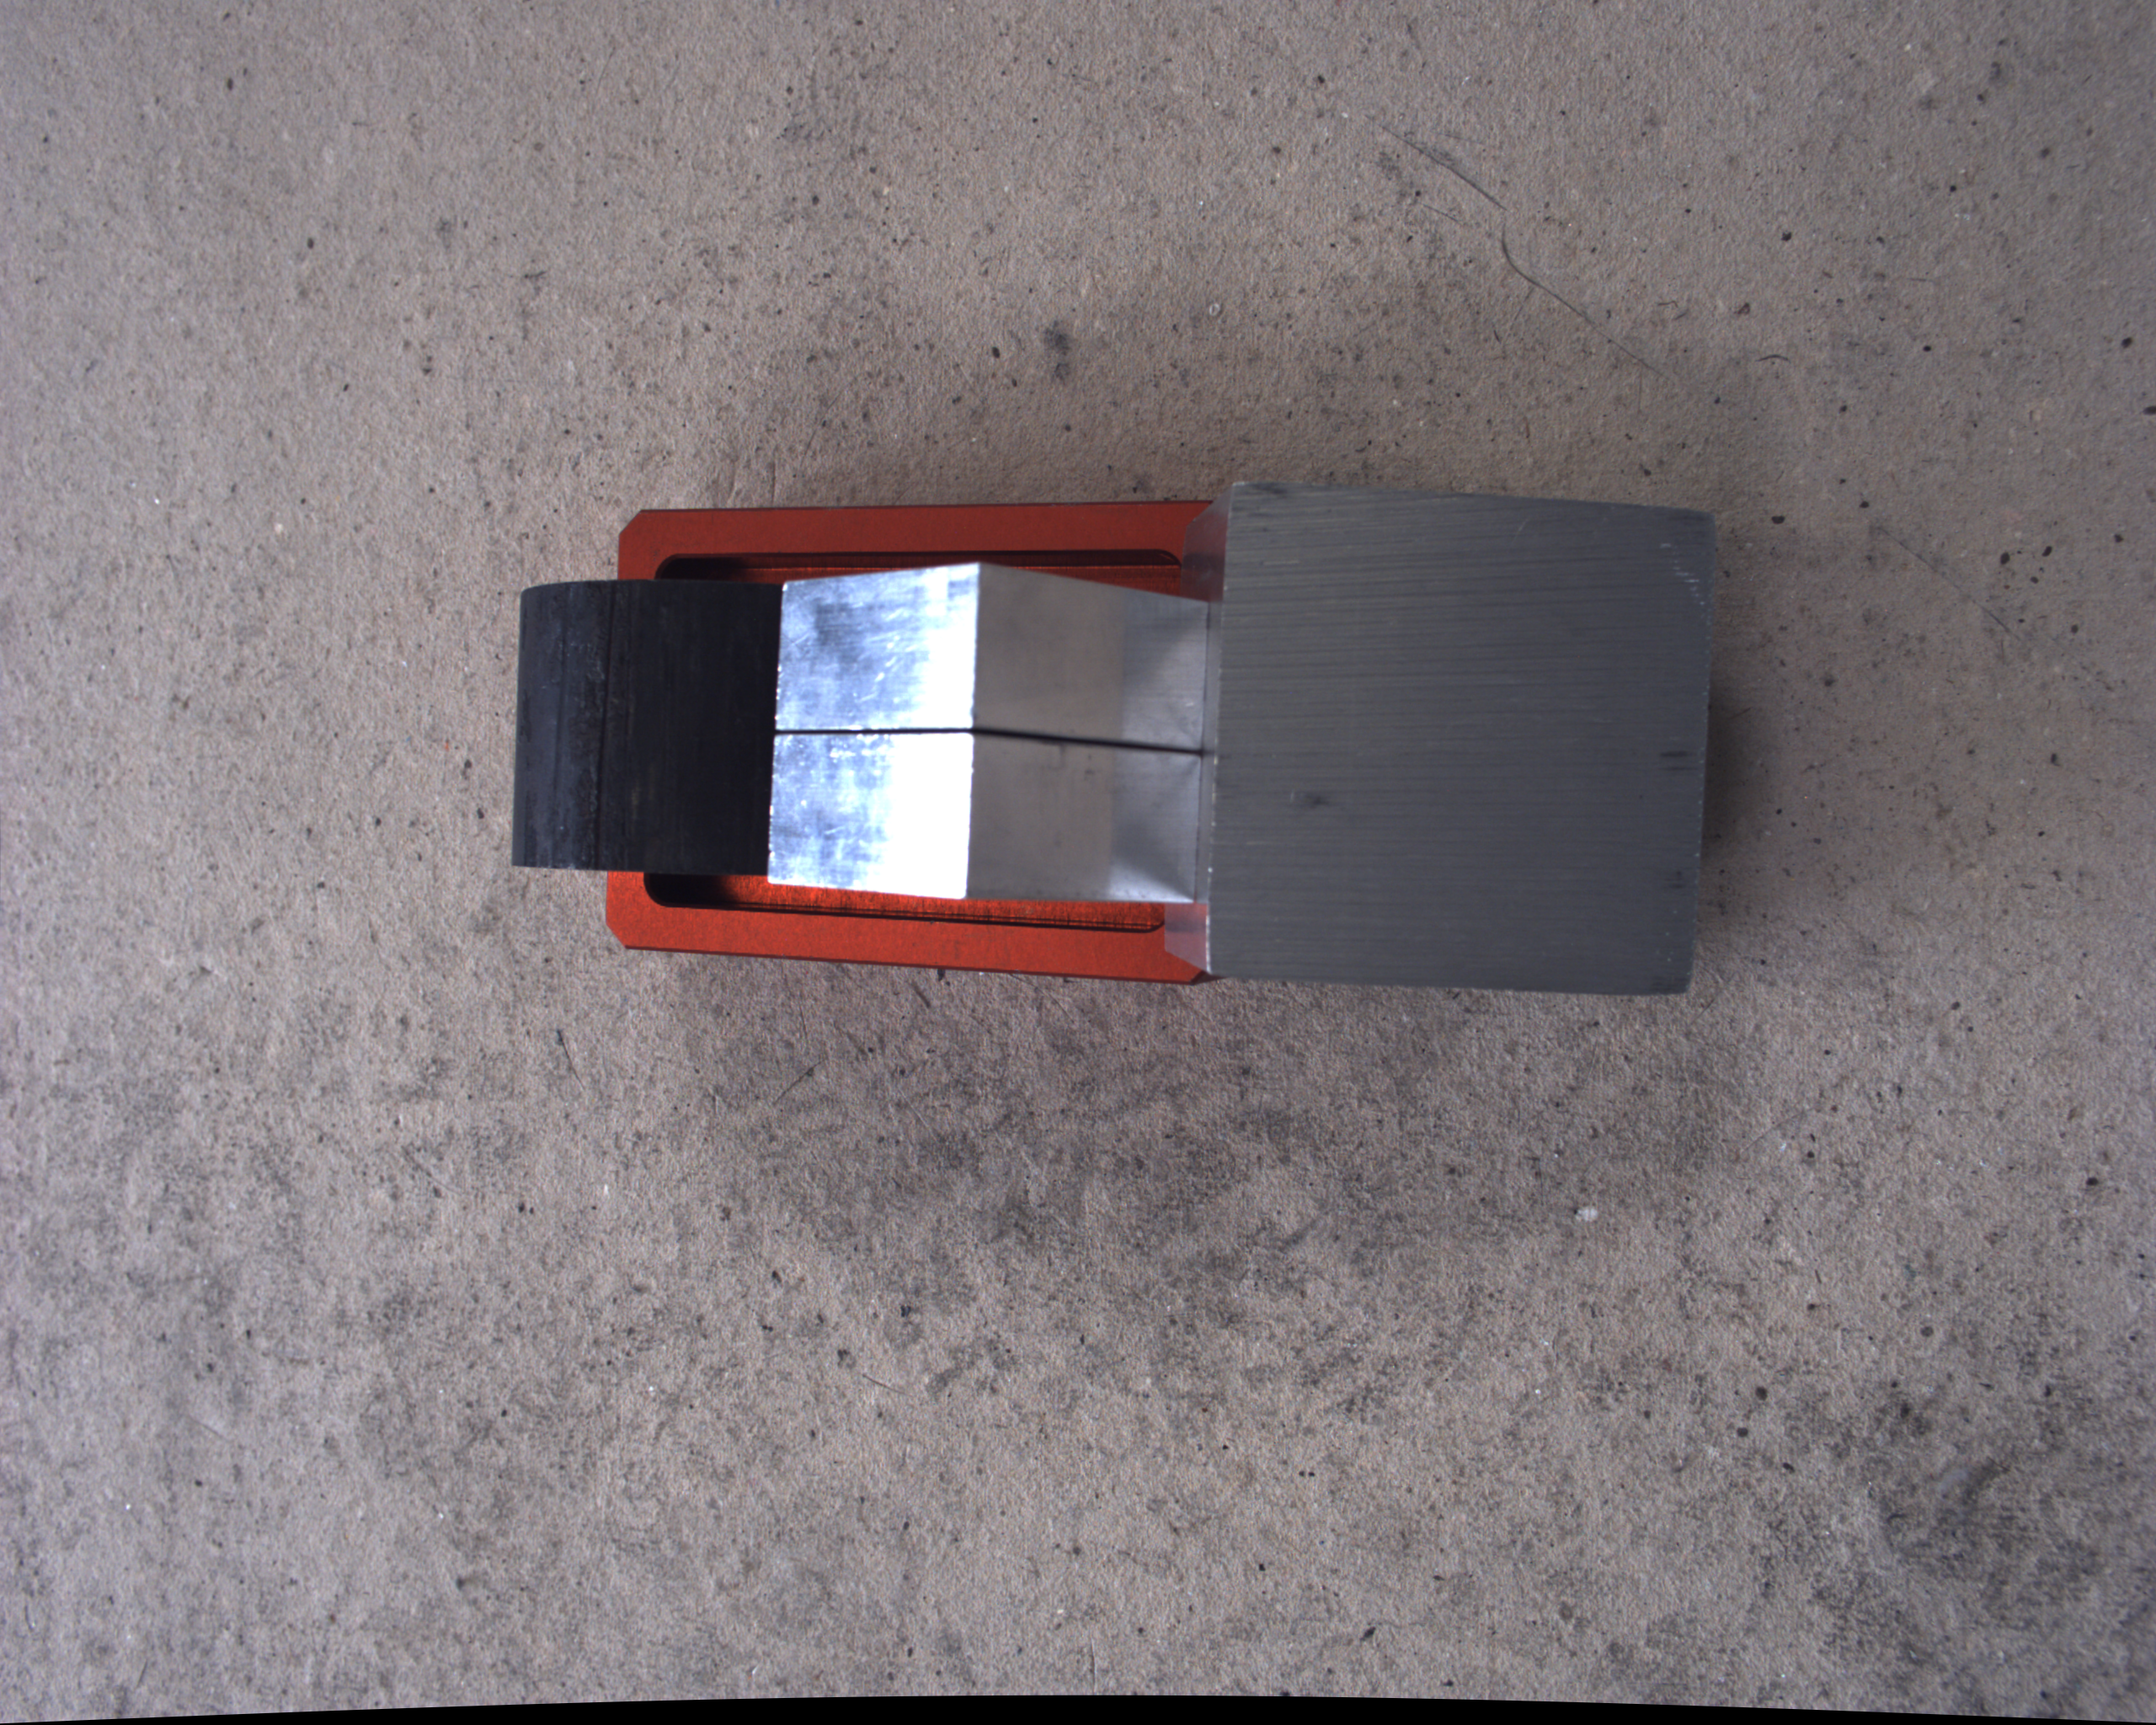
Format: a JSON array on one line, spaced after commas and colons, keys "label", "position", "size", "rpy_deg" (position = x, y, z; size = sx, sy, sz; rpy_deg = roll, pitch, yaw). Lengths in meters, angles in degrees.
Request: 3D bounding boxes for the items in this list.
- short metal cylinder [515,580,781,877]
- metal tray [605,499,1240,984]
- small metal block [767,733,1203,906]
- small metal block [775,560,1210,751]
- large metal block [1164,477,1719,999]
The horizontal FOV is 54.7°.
[{"label": "short metal cylinder", "position": [-0.063, -0.023, 0.390], "size": [0.080, 0.080, 0.050], "rpy_deg": [1, 91, 20]}, {"label": "metal tray", "position": [-0.029, -0.025, 0.417], "size": [0.130, 0.030, 0.089], "rpy_deg": [2, 91, 19]}, {"label": "small metal block", "position": [-0.015, -0.007, 0.346], "size": [0.050, 0.050, 0.025], "rpy_deg": [3, 90, 46]}, {"label": "small metal block", "position": [-0.014, -0.033, 0.346], "size": [0.050, 0.050, 0.025], "rpy_deg": [3, 90, 46]}, {"label": "large metal block", "position": [0.060, -0.020, 0.360], "size": [0.081, 0.050, 0.079], "rpy_deg": [3, 91, -6]}]
